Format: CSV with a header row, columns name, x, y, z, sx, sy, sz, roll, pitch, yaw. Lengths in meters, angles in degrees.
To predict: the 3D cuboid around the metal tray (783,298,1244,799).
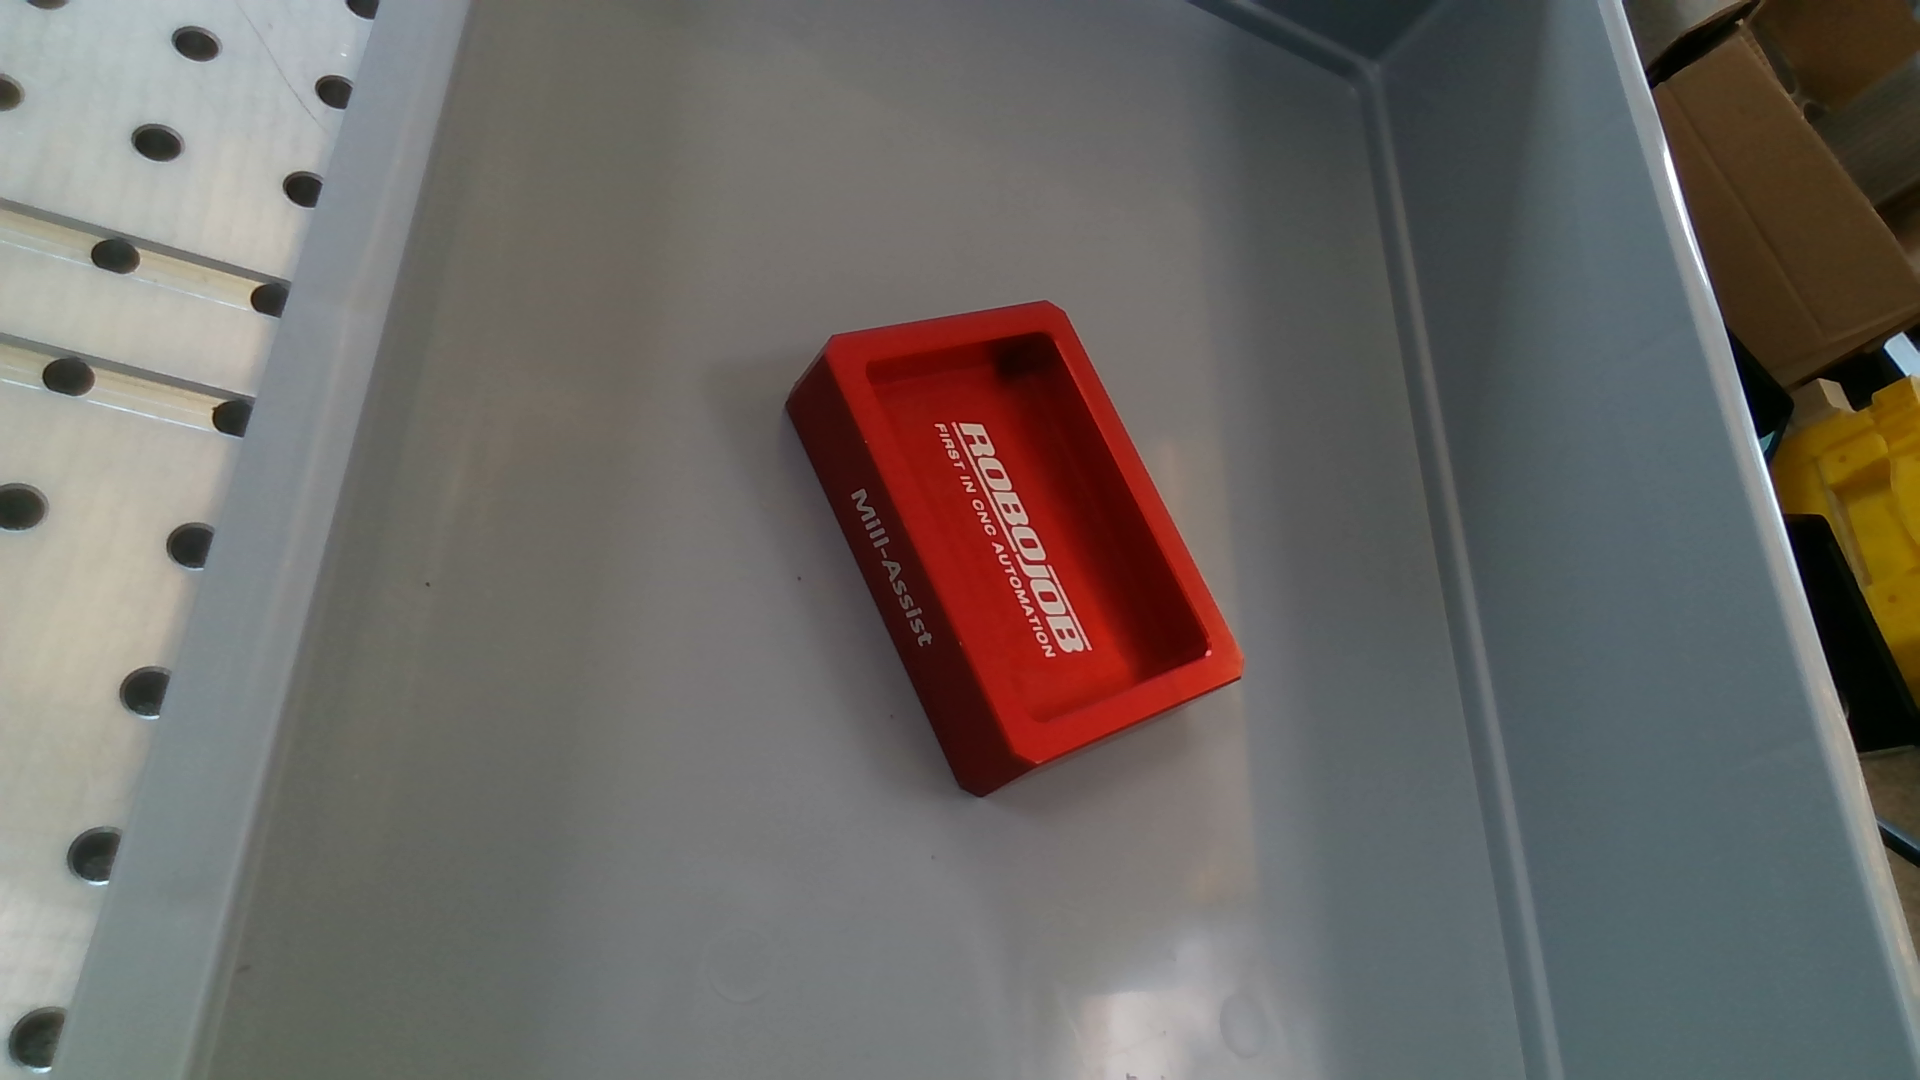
name,x,y,z,sx,sy,sz,roll,pitch,yaw
metal tray,0.016,-0.002,0.397,0.090,0.030,0.130,-16,75,-36
